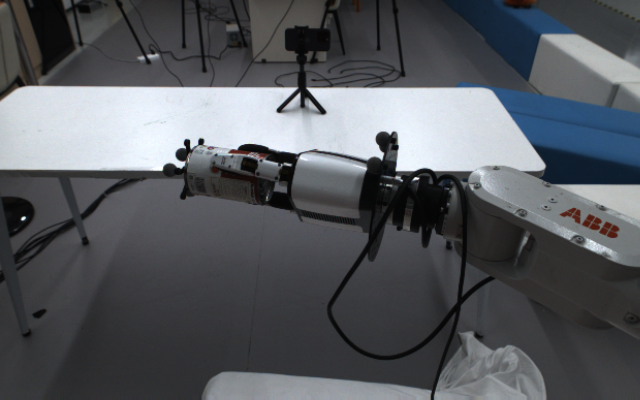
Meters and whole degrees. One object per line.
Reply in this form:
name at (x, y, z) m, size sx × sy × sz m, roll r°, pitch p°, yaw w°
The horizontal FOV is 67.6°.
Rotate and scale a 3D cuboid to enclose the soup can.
soup can at (-0.114, -0.032, 0.630) m, size 0.101 × 0.067 × 0.067 m, roll 8°, pitch 35°, yaw 11°
